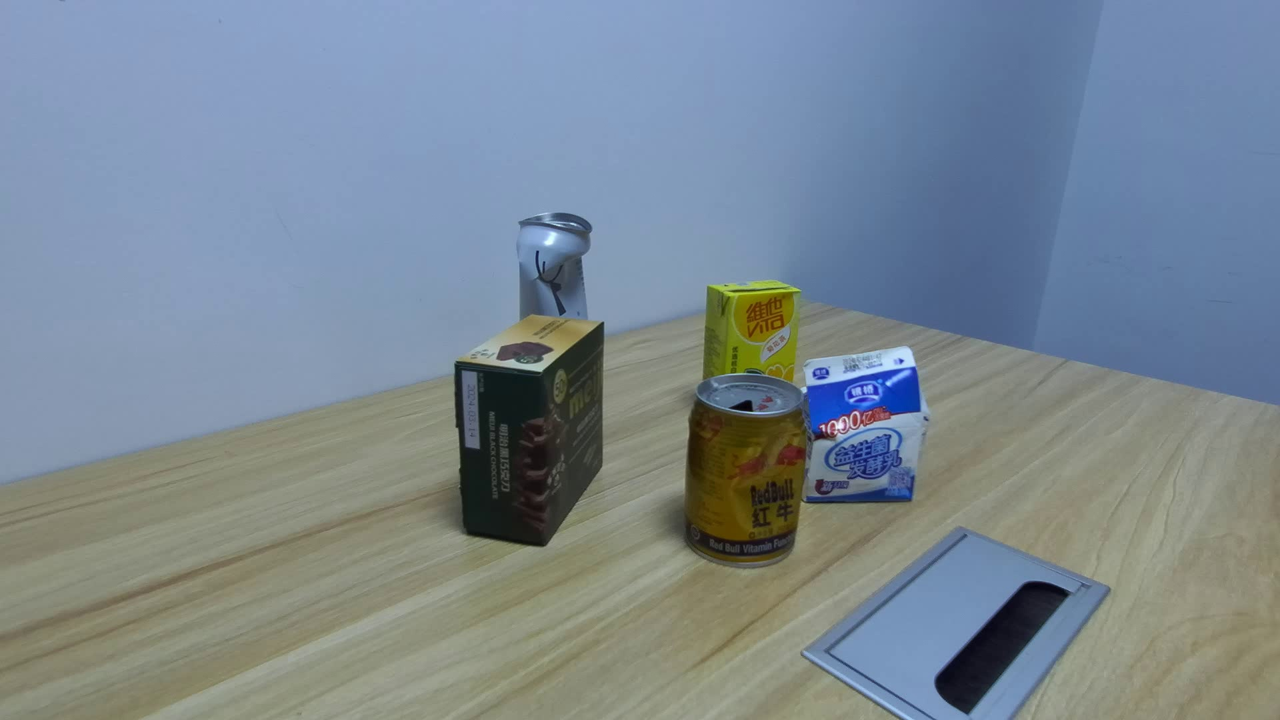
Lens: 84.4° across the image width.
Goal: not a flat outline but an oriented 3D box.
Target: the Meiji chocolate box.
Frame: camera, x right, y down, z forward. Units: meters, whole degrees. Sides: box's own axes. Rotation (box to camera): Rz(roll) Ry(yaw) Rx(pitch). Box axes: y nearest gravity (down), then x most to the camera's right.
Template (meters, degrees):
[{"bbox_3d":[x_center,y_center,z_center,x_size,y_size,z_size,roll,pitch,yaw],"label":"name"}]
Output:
[{"bbox_3d":[-0.063,0.038,0.441,0.056,0.109,0.110,6,20,15],"label":"Meiji chocolate box"}]

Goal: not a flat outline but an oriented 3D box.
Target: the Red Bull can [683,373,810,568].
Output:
[{"bbox_3d":[0.059,0.060,0.400,0.069,0.092,0.069,1,19,0],"label":"Red Bull can"}]

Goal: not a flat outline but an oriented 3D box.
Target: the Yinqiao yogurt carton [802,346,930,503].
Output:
[{"bbox_3d":[0.144,0.036,0.472,0.083,0.093,0.077,0,20,-2],"label":"Yinqiao yogurt carton"}]

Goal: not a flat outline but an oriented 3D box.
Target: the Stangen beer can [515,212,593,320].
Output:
[{"bbox_3d":[-0.065,-0.030,0.555,0.066,0.162,0.077,-7,21,-20],"label":"Stangen beer can"}]

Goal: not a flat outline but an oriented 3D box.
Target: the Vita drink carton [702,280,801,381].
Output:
[{"bbox_3d":[0.088,-0.006,0.570,0.067,0.109,0.043,-7,19,-22],"label":"Vita drink carton"}]
